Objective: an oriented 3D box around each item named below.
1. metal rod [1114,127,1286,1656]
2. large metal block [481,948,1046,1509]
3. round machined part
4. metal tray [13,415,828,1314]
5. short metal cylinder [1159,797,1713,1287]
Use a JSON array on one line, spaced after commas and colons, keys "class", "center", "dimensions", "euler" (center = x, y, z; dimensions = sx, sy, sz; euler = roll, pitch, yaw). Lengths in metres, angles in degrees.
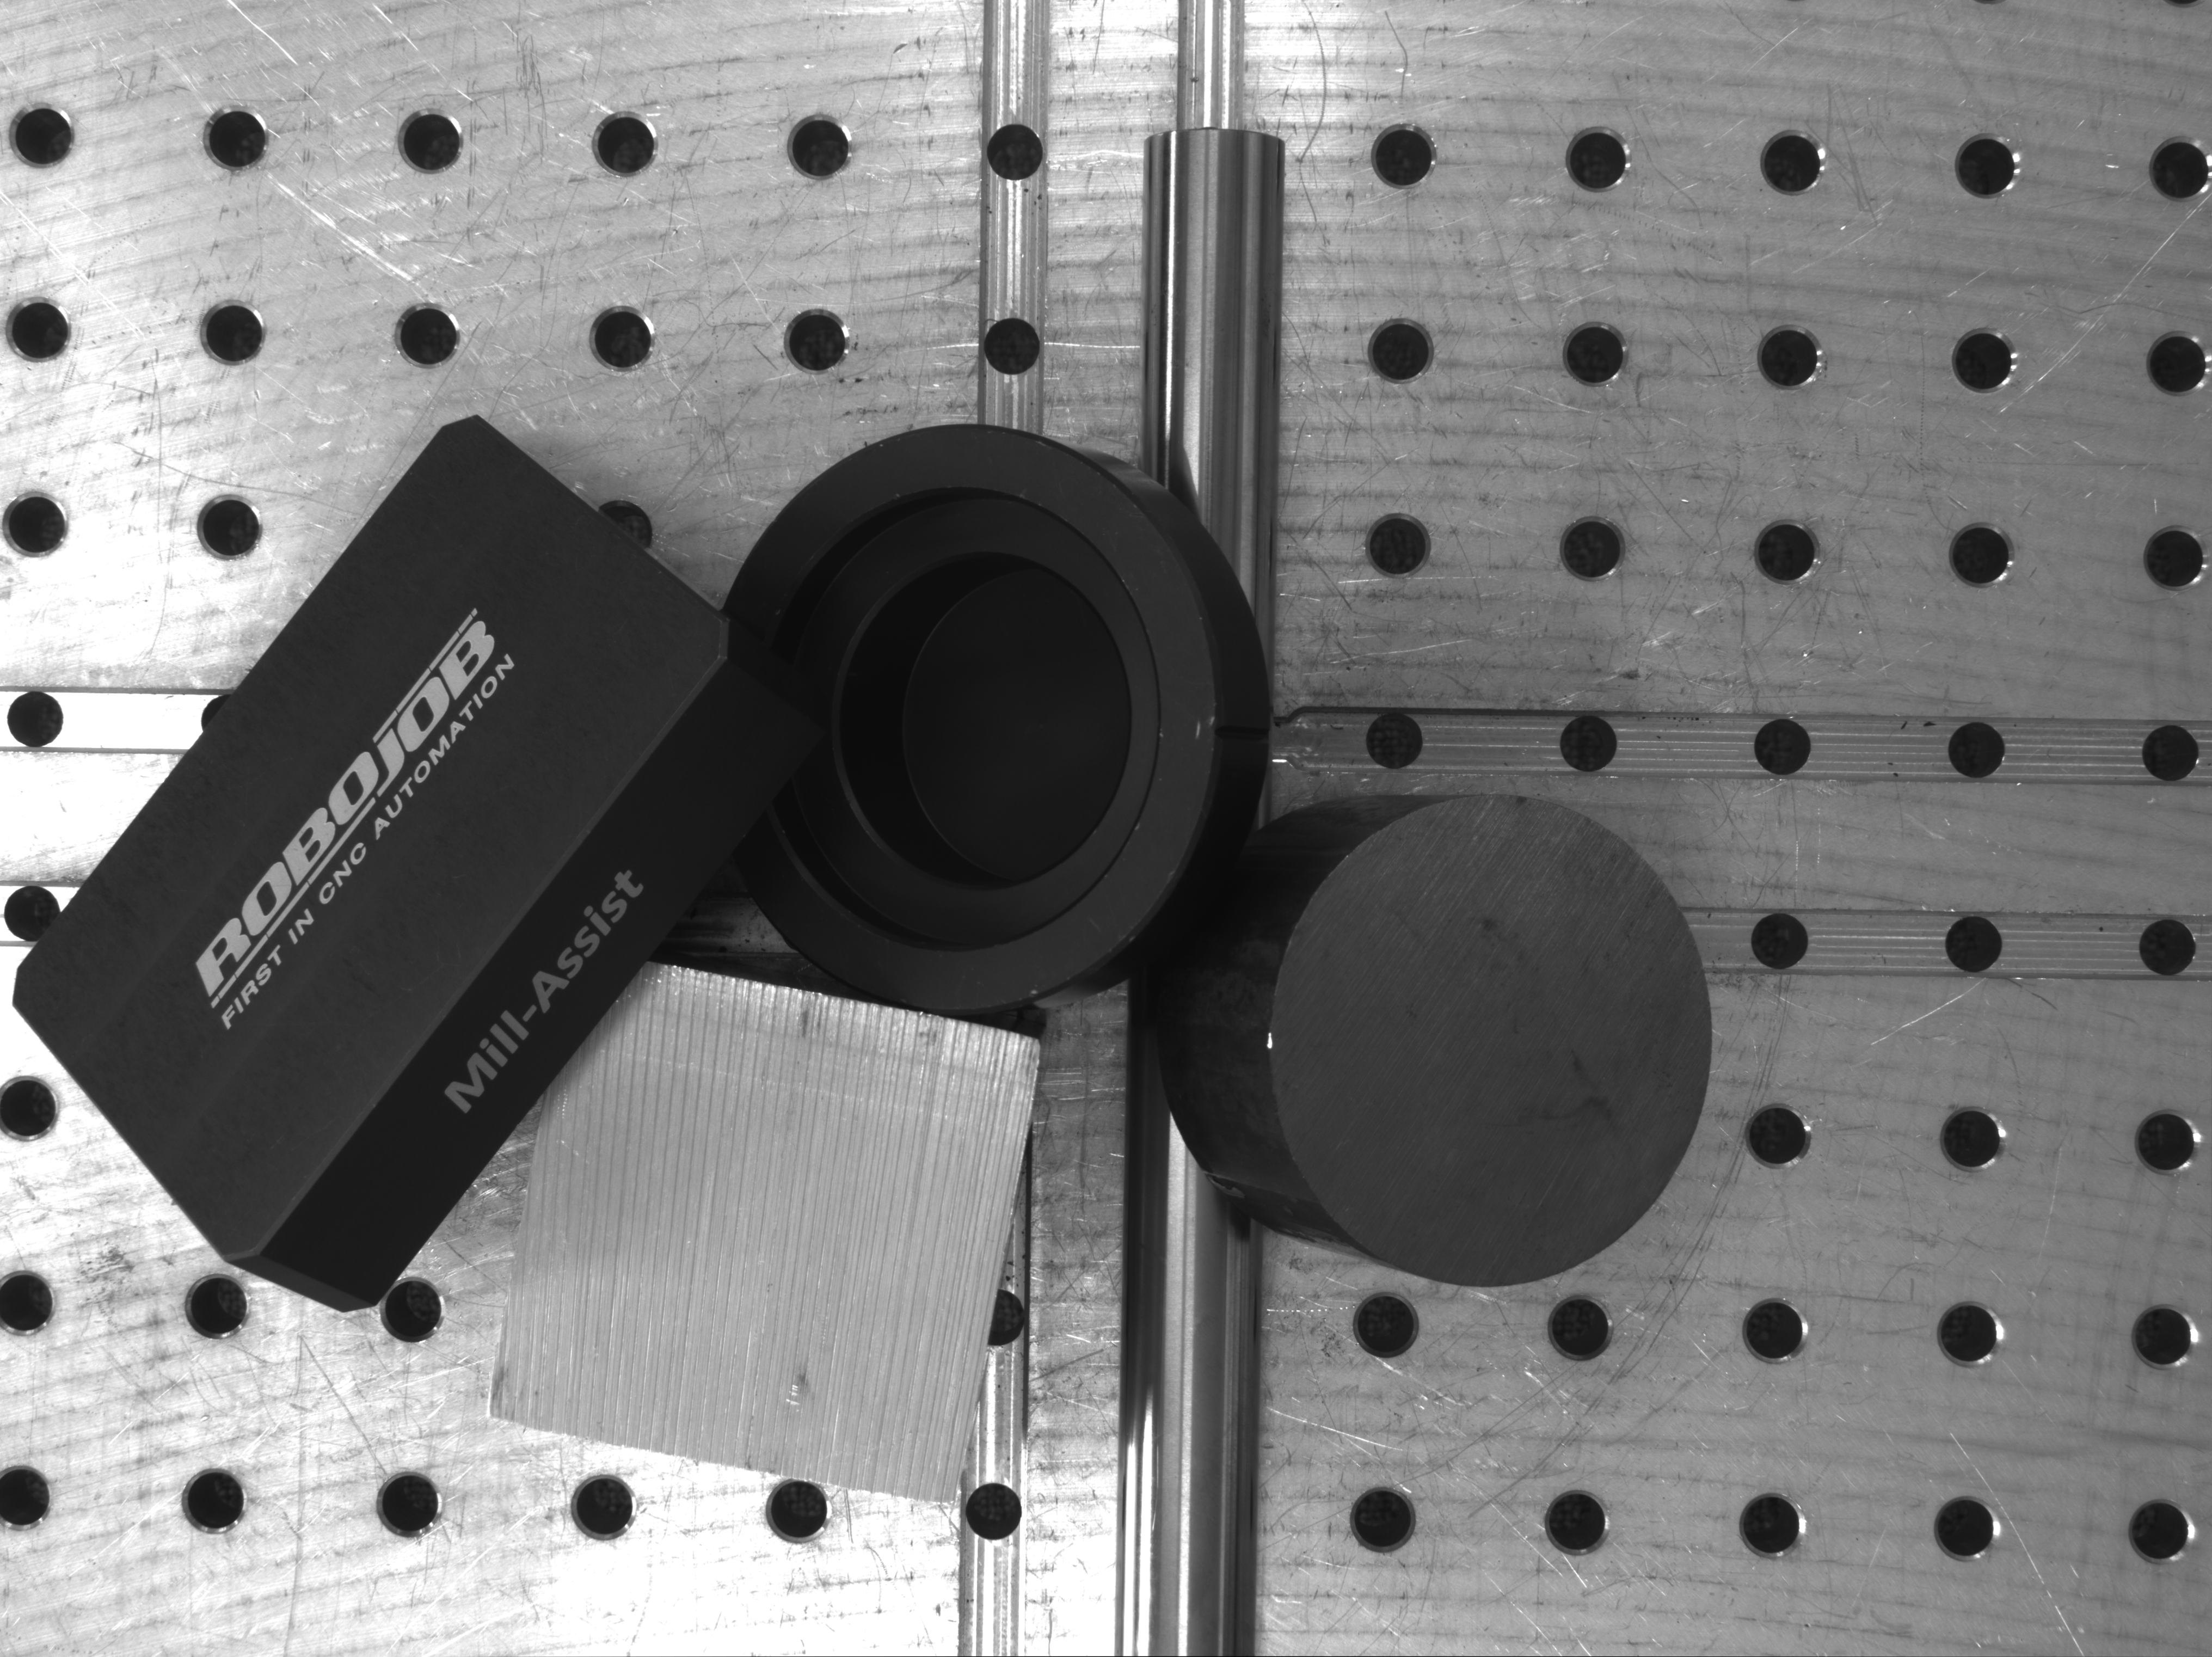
[{"class": "metal rod", "center": [0.016, 0.029, 0.649], "dimensions": [0.025, 0.025, 0.300], "euler": [1, 90, 0]}, {"class": "large metal block", "center": [-0.057, 0.067, 0.636], "dimensions": [0.080, 0.050, 0.080], "euler": [10, 90, 0]}, {"class": "round machined part", "center": [-0.017, -0.018, 0.627], "dimensions": [0.098, 0.042, 0.098], "euler": [-1, 89, 26]}, {"class": "metal tray", "center": [-0.117, 0.004, 0.621], "dimensions": [0.130, 0.030, 0.090], "euler": [-52, 51, 0]}, {"class": "short metal cylinder", "center": [0.055, 0.035, 0.623], "dimensions": [0.080, 0.050, 0.080], "euler": [0, 90, -20]}]
